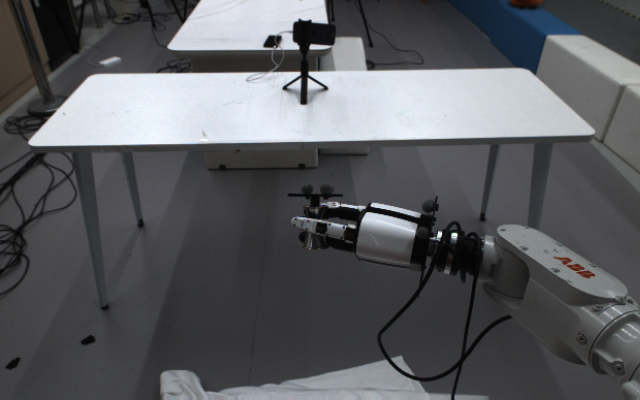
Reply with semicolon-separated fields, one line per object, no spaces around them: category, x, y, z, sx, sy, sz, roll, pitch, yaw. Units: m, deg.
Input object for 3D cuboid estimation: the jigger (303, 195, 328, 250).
jigger;-0.008;0.042;0.780;0.043;0.071;0.043;-1;2;0
